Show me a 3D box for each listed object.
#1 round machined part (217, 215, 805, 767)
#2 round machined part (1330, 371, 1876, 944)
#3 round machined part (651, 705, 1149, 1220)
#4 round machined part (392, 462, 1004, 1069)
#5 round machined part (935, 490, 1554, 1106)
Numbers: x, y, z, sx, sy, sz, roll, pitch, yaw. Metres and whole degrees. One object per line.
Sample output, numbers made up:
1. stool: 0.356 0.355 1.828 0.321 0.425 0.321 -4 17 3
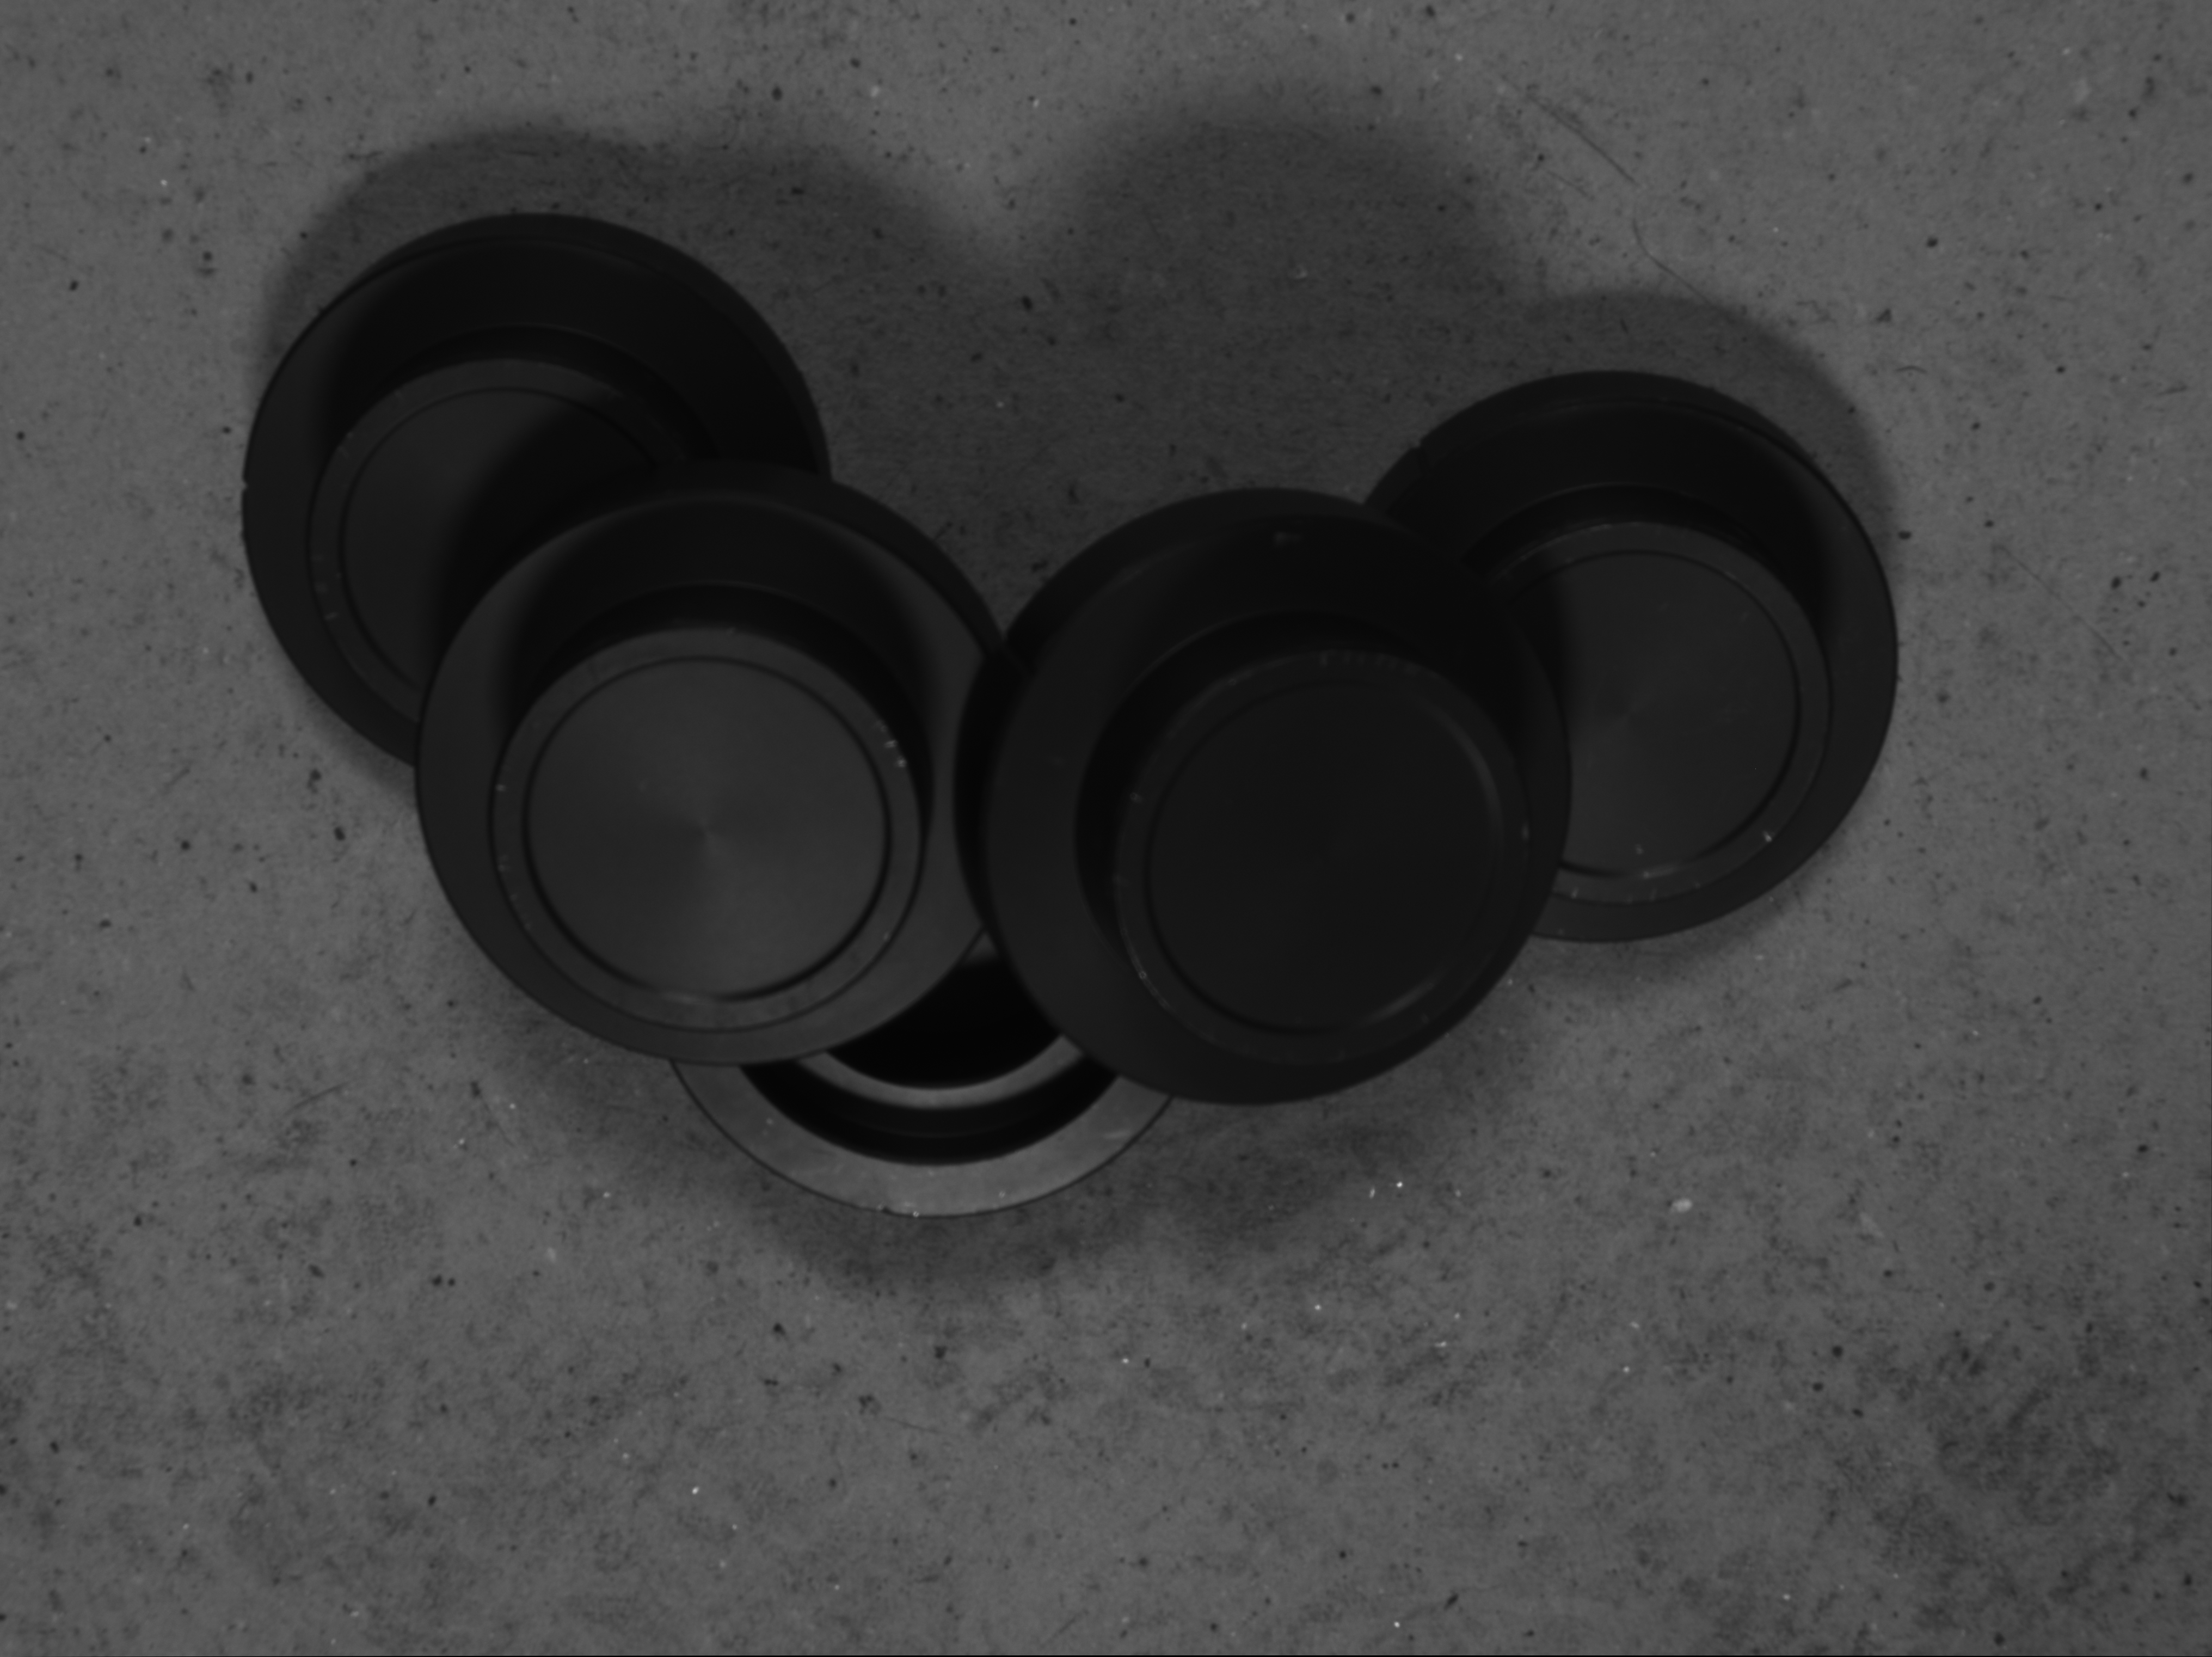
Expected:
1. round machined part: -0.100 -0.050 0.614 0.098 0.042 0.098 0 110 -1
2. round machined part: 0.083 -0.025 0.625 0.098 0.042 0.098 0 110 -1
3. round machined part: -0.034 0.015 0.639 0.098 0.042 0.098 0 110 -1
4. round machined part: -0.065 -0.006 0.586 0.098 0.042 0.098 0 110 -1
5. round machined part: 0.025 -0.001 0.578 0.098 0.042 0.098 -4 109 -13
